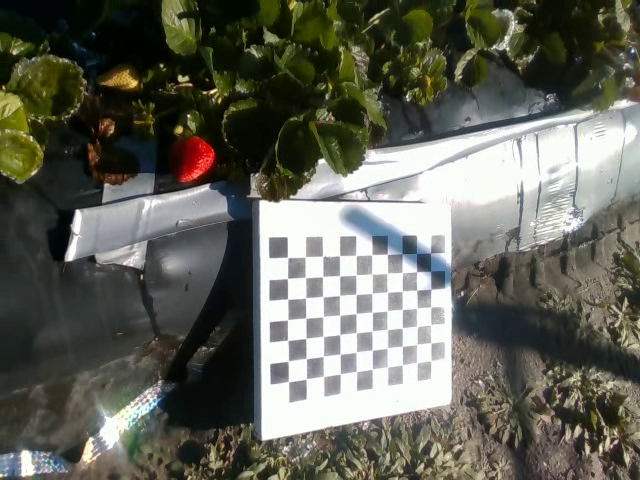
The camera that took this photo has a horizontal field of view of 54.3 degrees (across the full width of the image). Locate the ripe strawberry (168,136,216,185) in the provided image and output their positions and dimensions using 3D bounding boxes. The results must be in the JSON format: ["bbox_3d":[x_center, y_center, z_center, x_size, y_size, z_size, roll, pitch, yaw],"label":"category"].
[{"bbox_3d":[-0.141,-0.083,0.695,0.057,0.065,0.061,-39,-58,25],"label":"ripe strawberry"}]
